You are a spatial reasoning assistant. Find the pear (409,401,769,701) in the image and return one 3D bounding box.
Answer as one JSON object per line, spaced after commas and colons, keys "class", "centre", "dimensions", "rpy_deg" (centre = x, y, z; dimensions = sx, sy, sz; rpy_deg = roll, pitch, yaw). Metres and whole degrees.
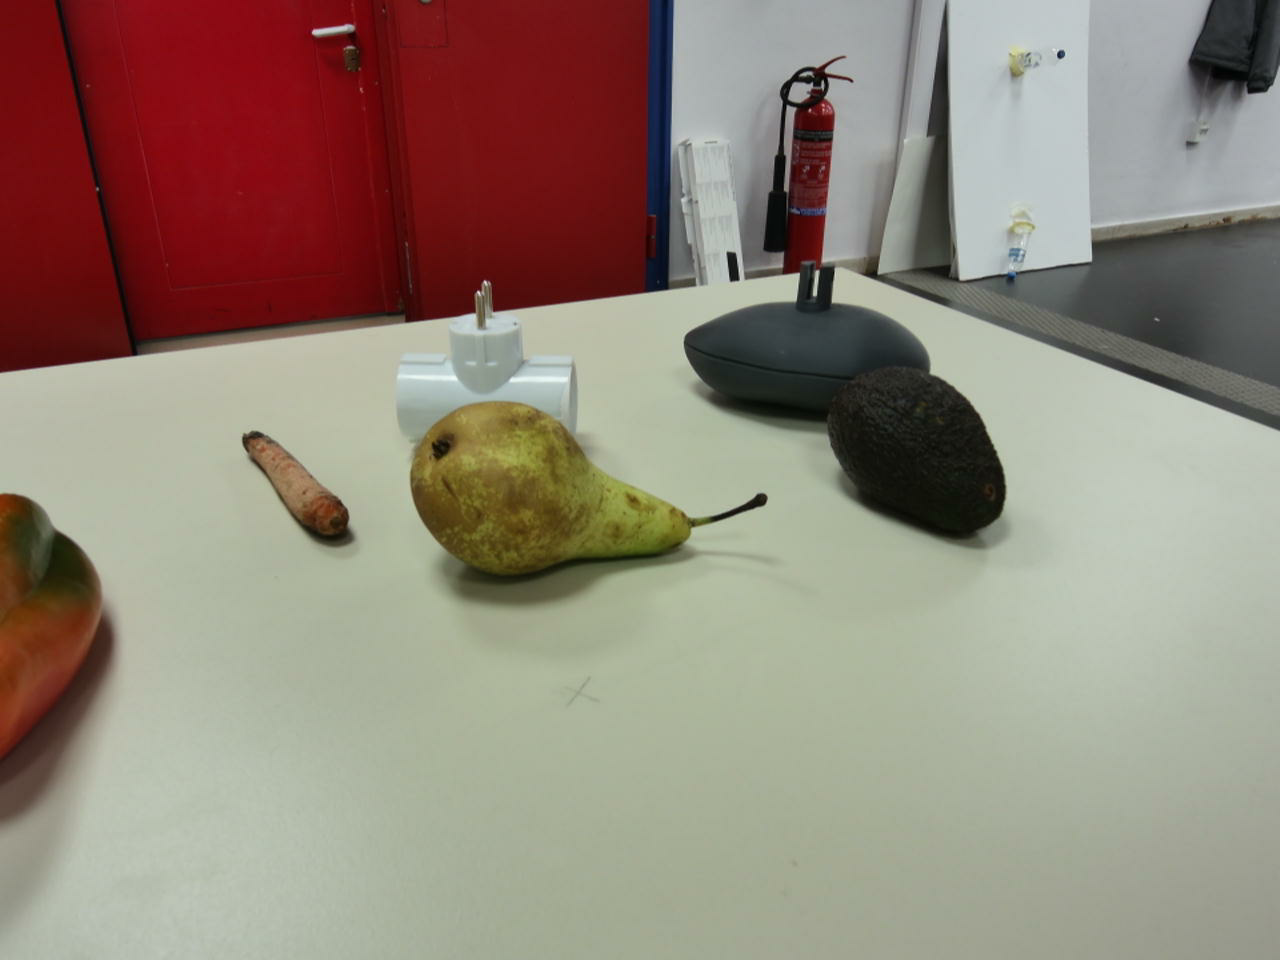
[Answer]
{"class": "pear", "centre": [-0.025, -0.001, 0.429], "dimensions": [0.144, 0.075, 0.071], "rpy_deg": [-9, 25, -17]}
